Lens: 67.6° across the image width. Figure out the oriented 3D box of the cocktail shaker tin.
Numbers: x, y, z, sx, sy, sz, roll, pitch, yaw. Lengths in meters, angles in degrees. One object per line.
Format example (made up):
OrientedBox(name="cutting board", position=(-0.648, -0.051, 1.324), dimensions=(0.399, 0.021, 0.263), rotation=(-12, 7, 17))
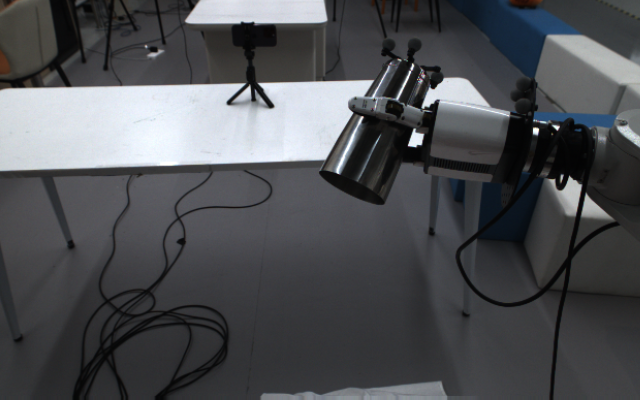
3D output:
OrientedBox(name="cocktail shaker tin", position=(0.079, -0.093, 0.619), dimensions=(0.093, 0.093, 0.170), rotation=(21, 81, 25))
